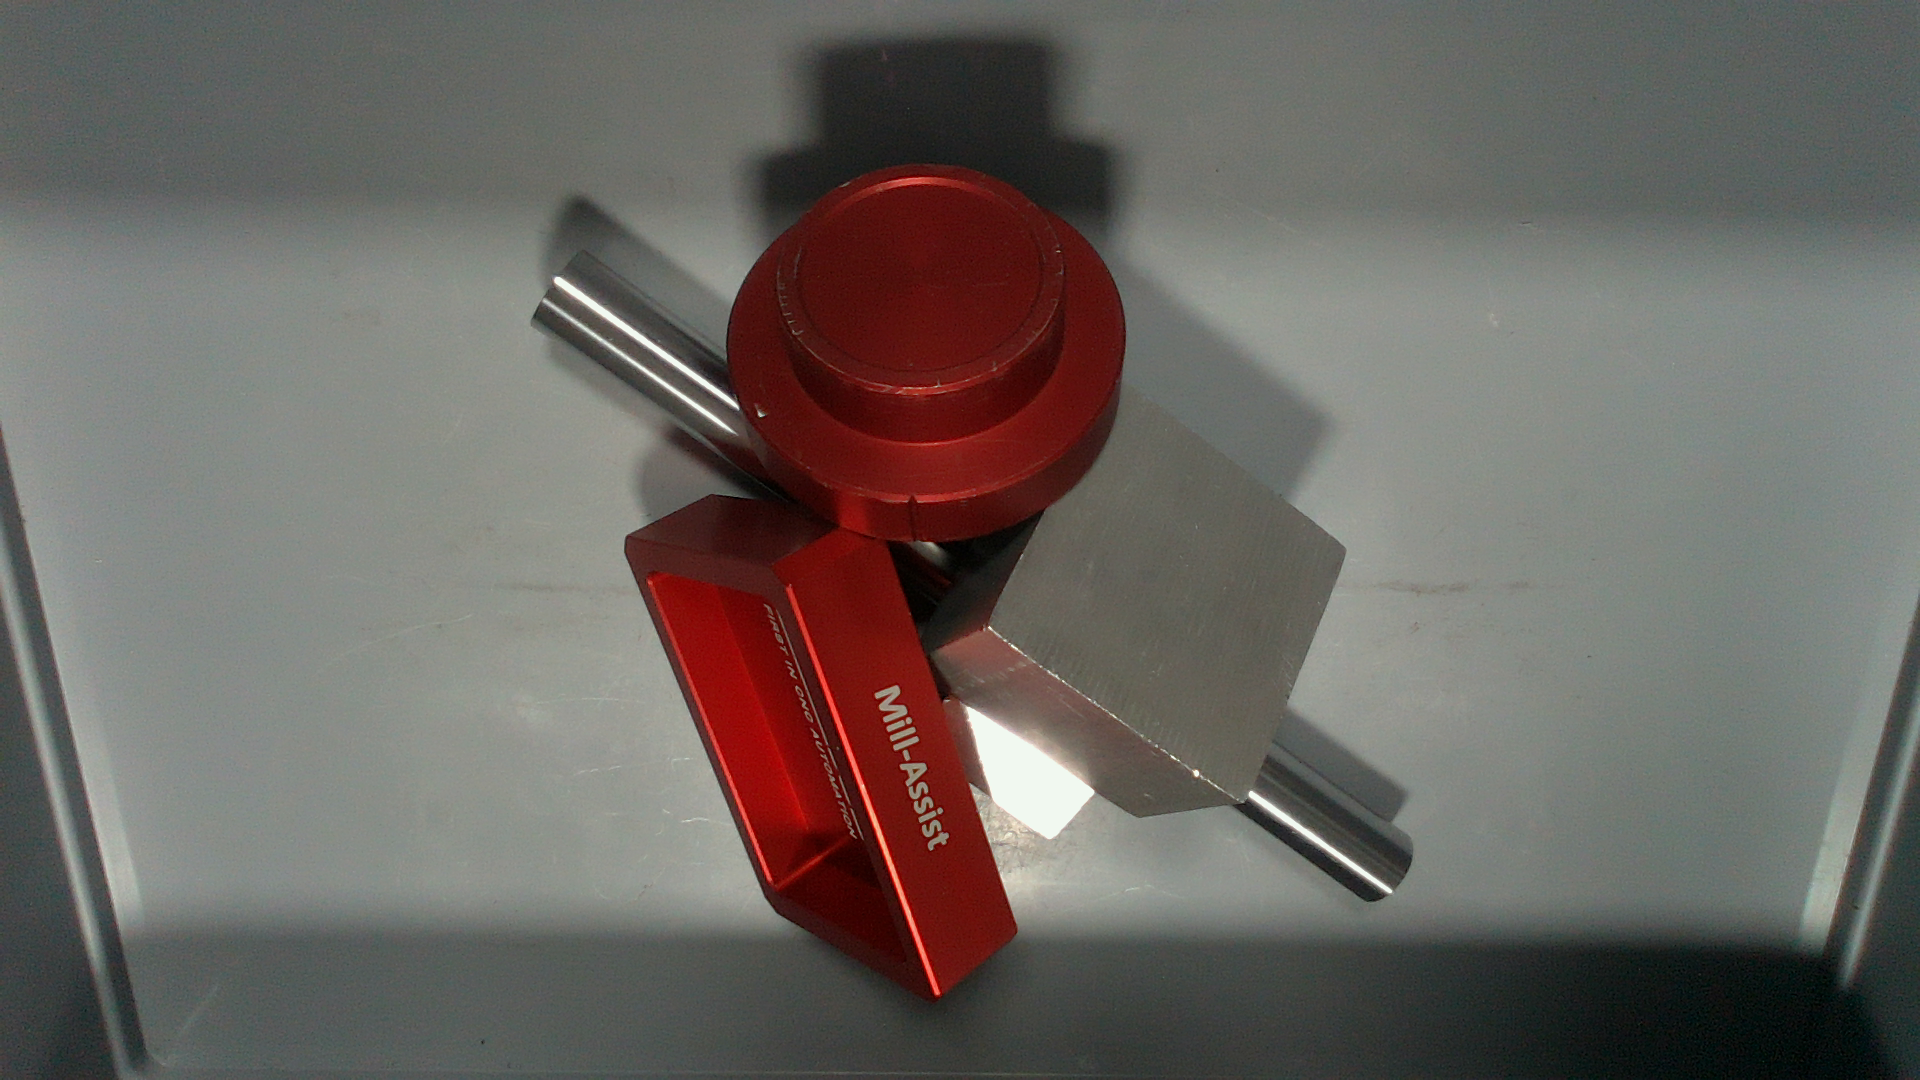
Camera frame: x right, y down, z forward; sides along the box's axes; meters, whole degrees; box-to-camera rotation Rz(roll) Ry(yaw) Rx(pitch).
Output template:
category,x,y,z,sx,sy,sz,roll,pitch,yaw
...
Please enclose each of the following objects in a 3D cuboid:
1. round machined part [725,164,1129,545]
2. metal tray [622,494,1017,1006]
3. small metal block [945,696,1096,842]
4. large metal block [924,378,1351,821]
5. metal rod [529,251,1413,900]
category,x,y,z,sx,sy,sz,roll,pitch,yaw
round machined part,-0.008,-0.051,0.333,0.098,0.098,0.042,-2,151,0
metal tray,-0.040,0.055,0.380,0.030,0.090,0.130,-30,113,-32
small metal block,0.014,0.052,0.398,0.050,0.050,0.025,36,106,-12
large metal block,0.045,0.017,0.365,0.080,0.050,0.080,35,64,-12
metal rod,0.012,0.017,0.399,0.300,0.025,0.025,35,106,-12
